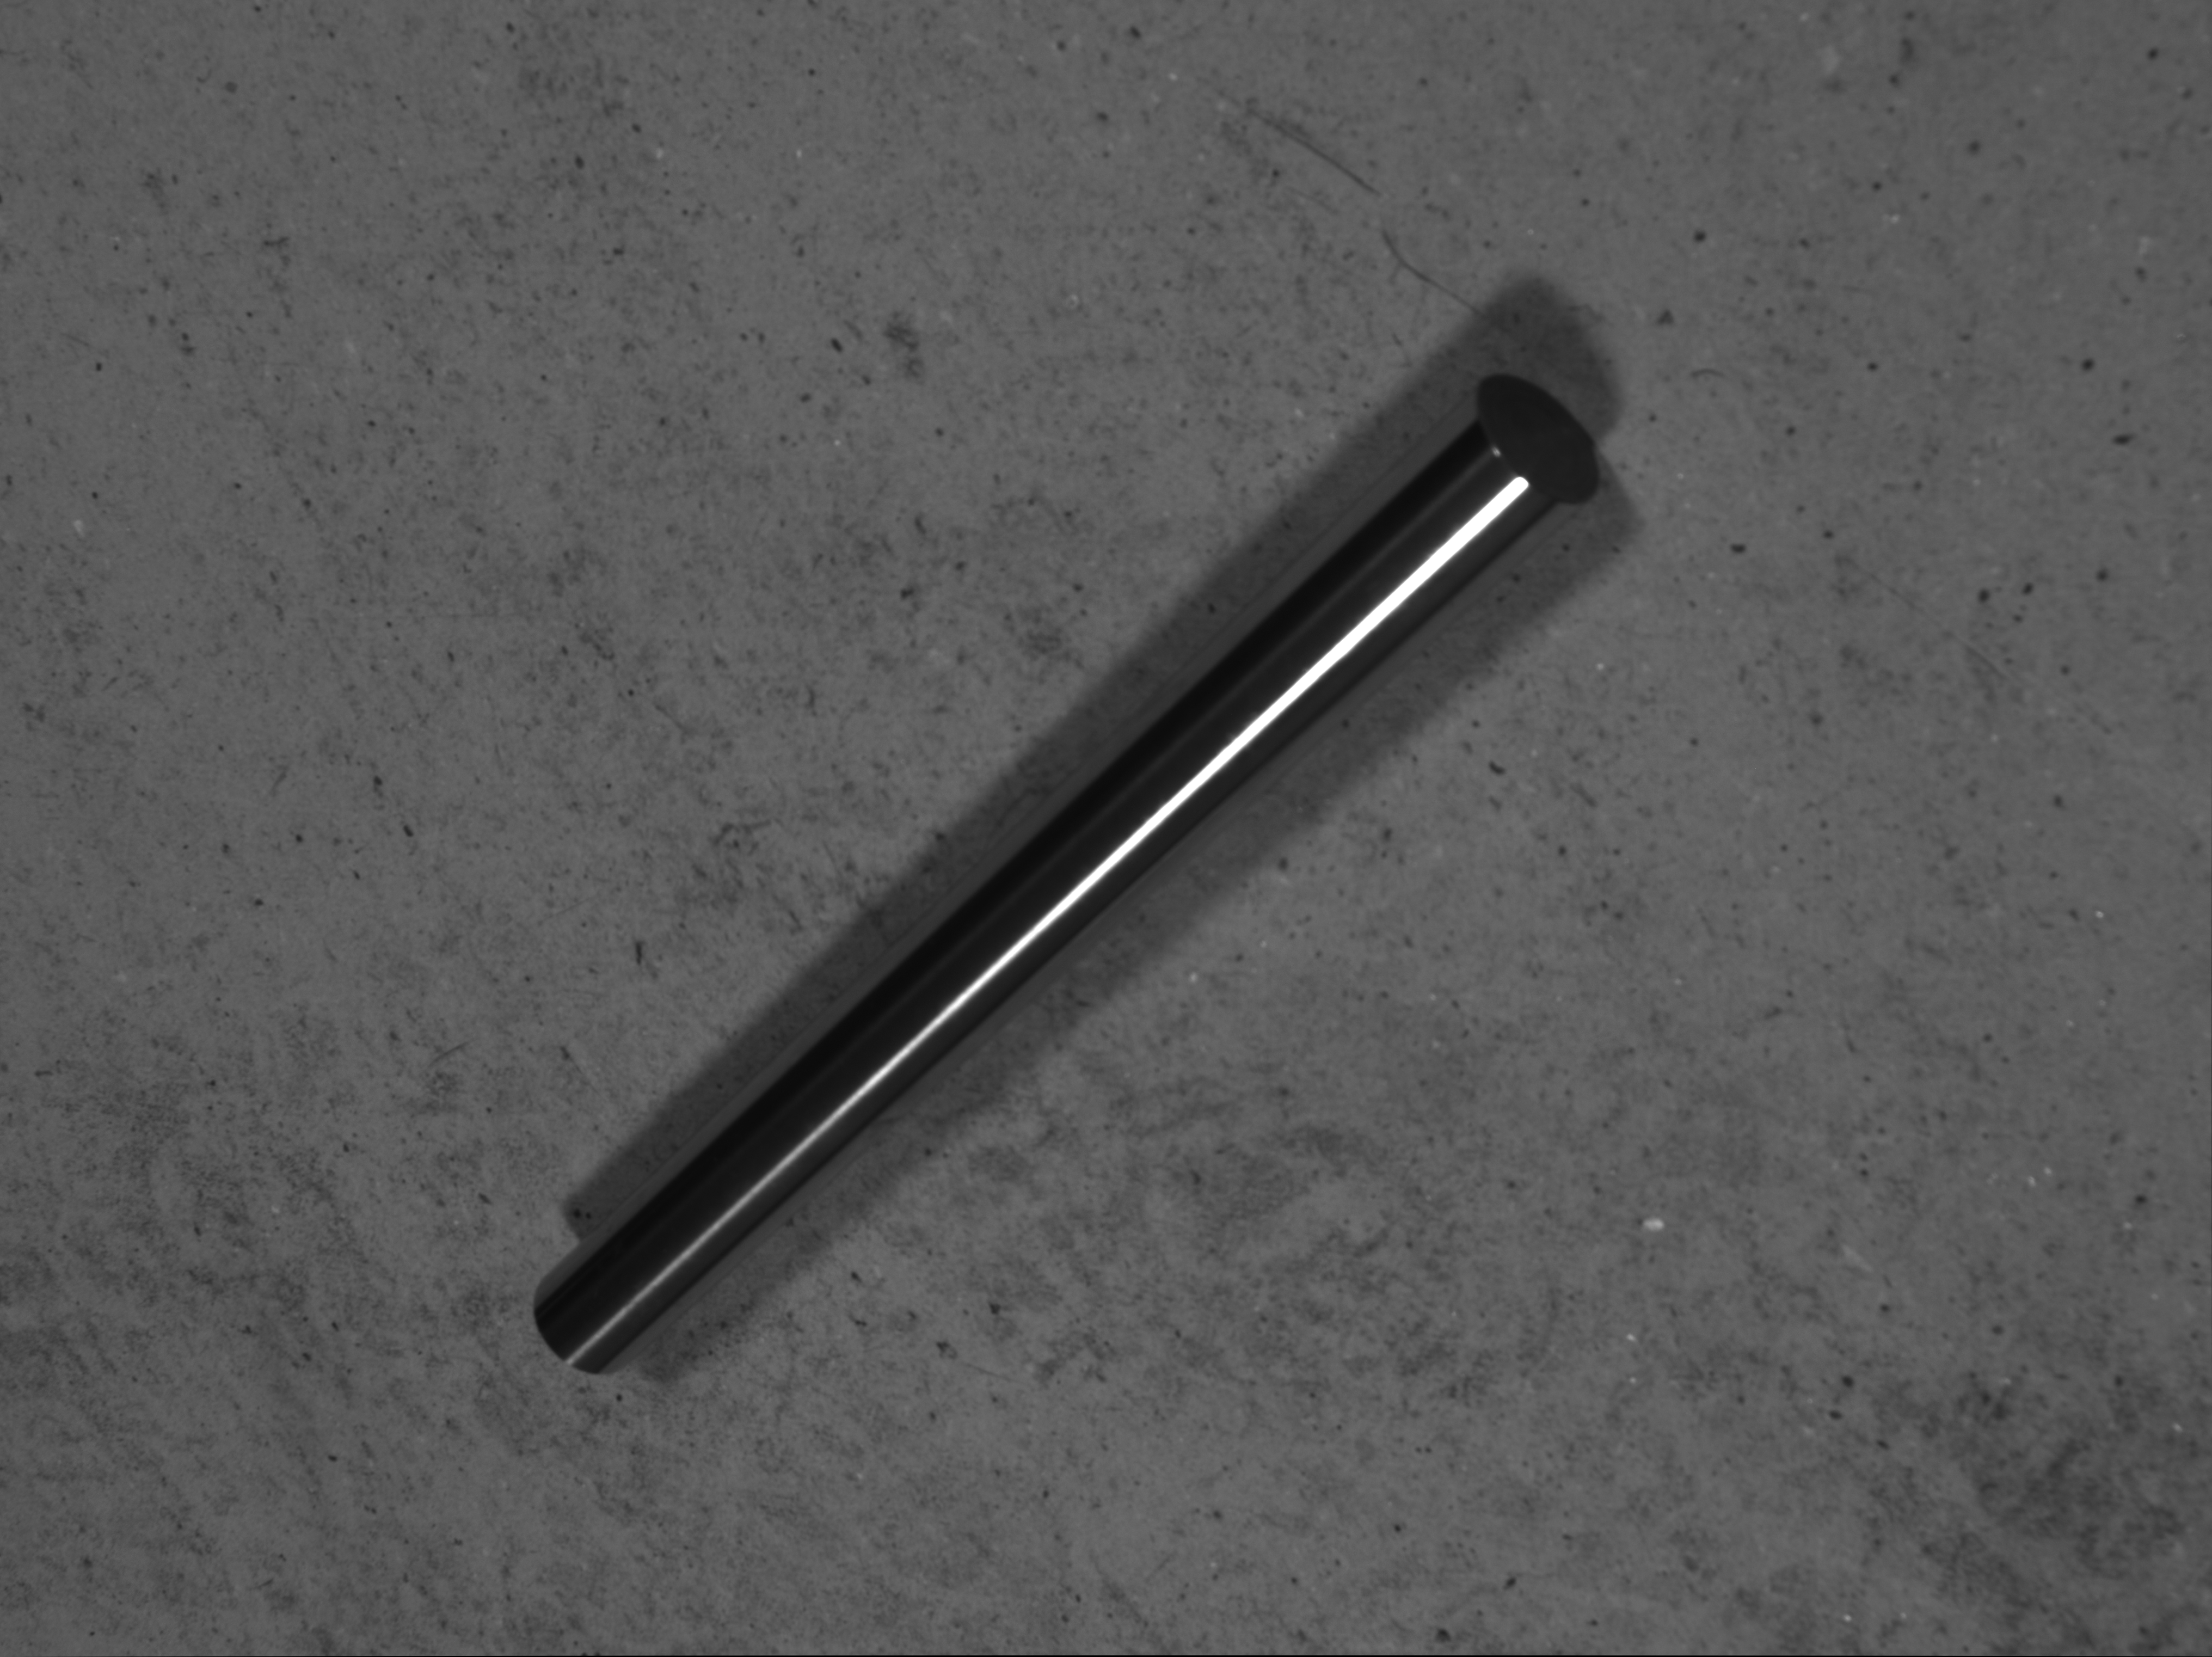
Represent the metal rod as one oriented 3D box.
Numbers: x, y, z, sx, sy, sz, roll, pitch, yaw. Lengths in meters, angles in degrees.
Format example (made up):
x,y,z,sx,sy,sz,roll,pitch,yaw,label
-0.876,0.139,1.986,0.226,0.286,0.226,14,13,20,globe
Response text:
x,y,z,sx,sy,sz,roll,pitch,yaw,label
-0.023,0.020,0.655,0.025,0.025,0.300,45,128,-4,metal rod
